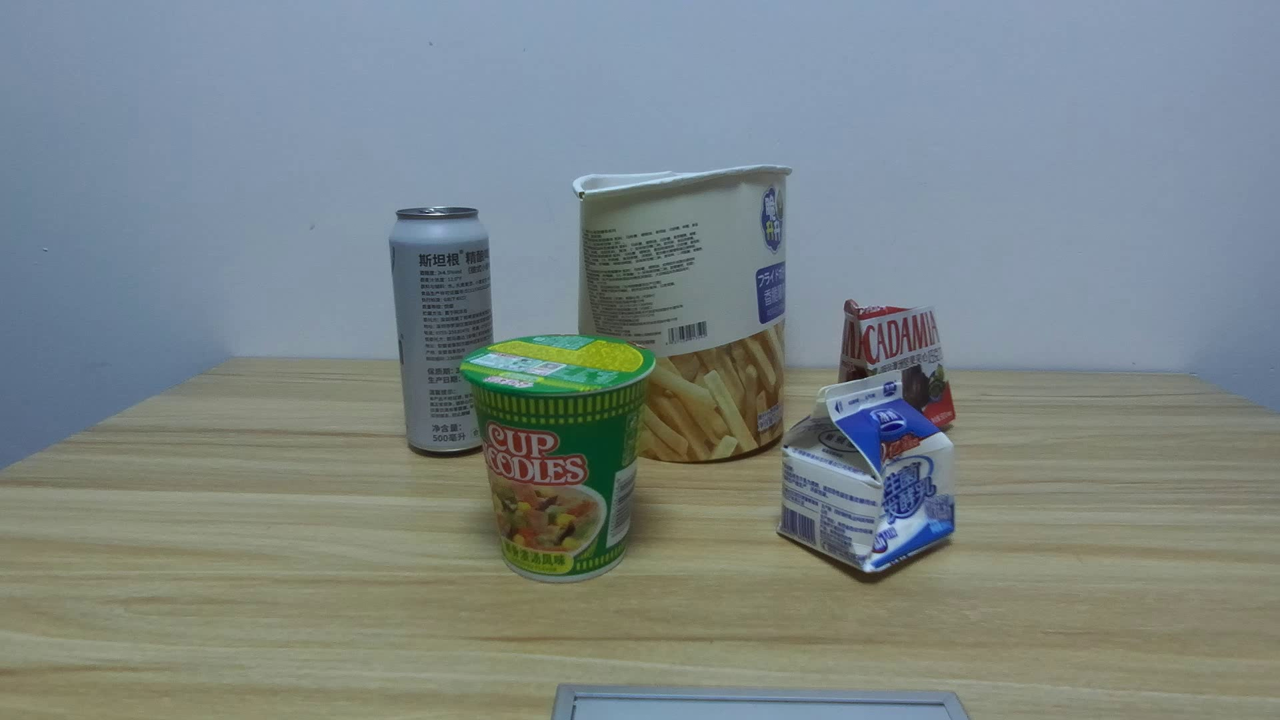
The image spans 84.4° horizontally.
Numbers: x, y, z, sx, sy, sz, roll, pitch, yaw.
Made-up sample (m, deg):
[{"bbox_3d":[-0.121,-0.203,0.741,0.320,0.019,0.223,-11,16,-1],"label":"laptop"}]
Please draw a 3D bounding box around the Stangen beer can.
[{"bbox_3d":[-0.139,-0.021,0.506,0.067,0.171,0.067,1,17,0],"label":"Stangen beer can"}]

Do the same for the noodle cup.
[{"bbox_3d":[-0.040,0.052,0.372,0.097,0.110,0.097,0,16,0],"label":"noodle cup"}]

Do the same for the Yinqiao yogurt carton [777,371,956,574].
[{"bbox_3d":[0.122,0.055,0.388,0.078,0.094,0.070,-11,14,-35],"label":"Yinqiao yogurt carton"}]

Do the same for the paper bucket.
[{"bbox_3d":[0.038,-0.042,0.526,0.147,0.199,0.218,2,16,5],"label":"paper bucket"}]

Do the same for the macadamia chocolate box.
[{"bbox_3d":[0.188,0.007,0.522,0.127,0.112,0.056,-15,21,-40],"label":"macadamia chocolate box"}]
